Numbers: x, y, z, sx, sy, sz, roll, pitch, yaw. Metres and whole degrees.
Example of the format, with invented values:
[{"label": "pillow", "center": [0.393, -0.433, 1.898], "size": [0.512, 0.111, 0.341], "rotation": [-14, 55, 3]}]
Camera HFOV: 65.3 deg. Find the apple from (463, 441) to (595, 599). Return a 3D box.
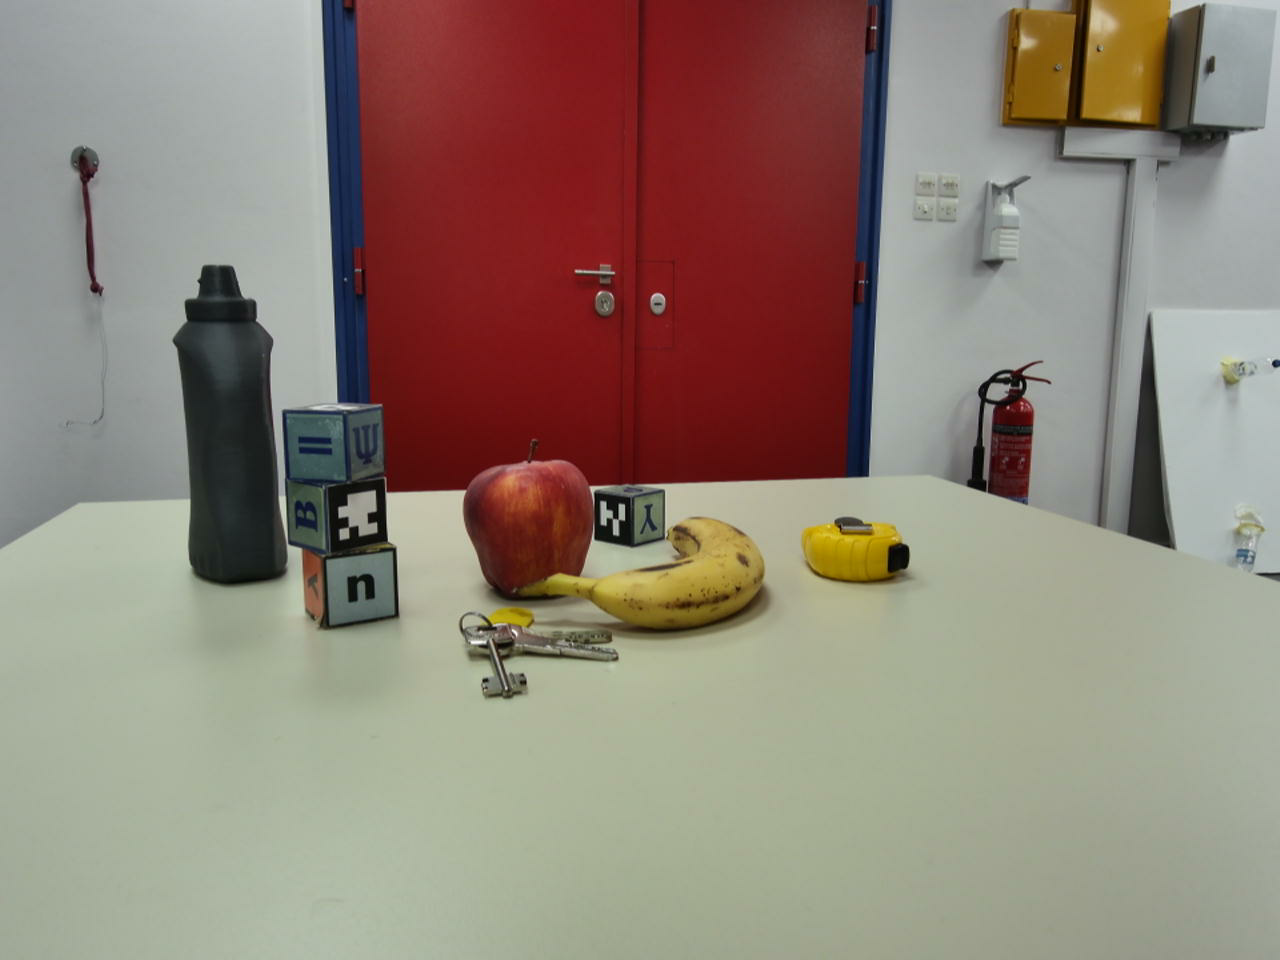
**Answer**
[{"label": "apple", "center": [-0.066, 0.021, 0.589], "size": [0.083, 0.090, 0.083], "rotation": [1, 7, 0]}]
